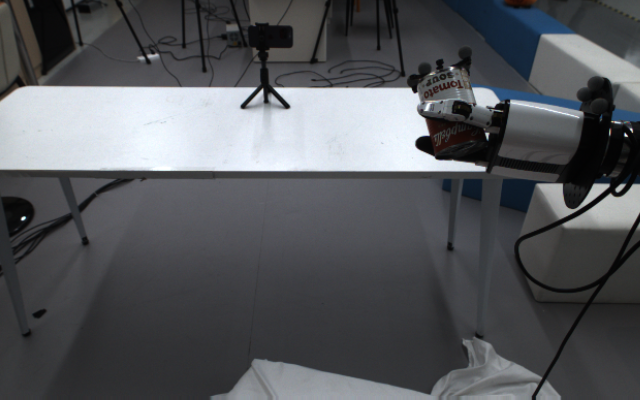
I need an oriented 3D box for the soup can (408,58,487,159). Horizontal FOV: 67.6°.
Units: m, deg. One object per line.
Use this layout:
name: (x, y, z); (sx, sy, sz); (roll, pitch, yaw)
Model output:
soup can: (0.170, -0.111, 0.626); (0.067, 0.067, 0.101); (-10, 80, -16)
